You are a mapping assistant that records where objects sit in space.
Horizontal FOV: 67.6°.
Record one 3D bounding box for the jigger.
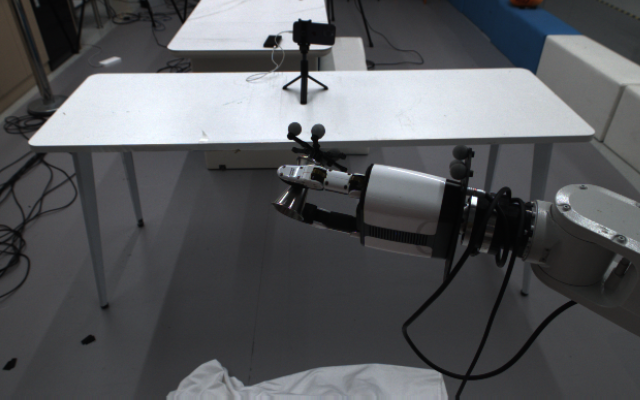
[{"bbox_3d":[-0.026,-0.017,0.587,0.043,0.043,0.071,20,73,24],"label":"jigger"}]
